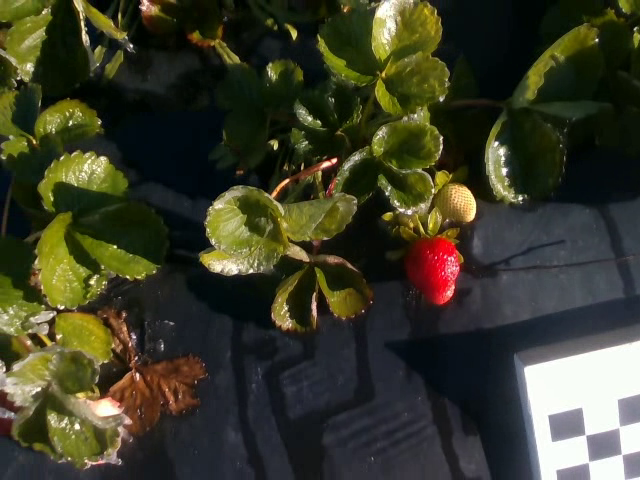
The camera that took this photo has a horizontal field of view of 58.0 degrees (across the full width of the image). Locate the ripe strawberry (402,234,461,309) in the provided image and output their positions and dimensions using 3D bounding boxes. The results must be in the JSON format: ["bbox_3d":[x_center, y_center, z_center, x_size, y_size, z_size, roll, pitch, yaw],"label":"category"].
[{"bbox_3d":[0.062,0.020,0.303,0.039,0.039,0.040,-19,-45,15],"label":"ripe strawberry"}]
